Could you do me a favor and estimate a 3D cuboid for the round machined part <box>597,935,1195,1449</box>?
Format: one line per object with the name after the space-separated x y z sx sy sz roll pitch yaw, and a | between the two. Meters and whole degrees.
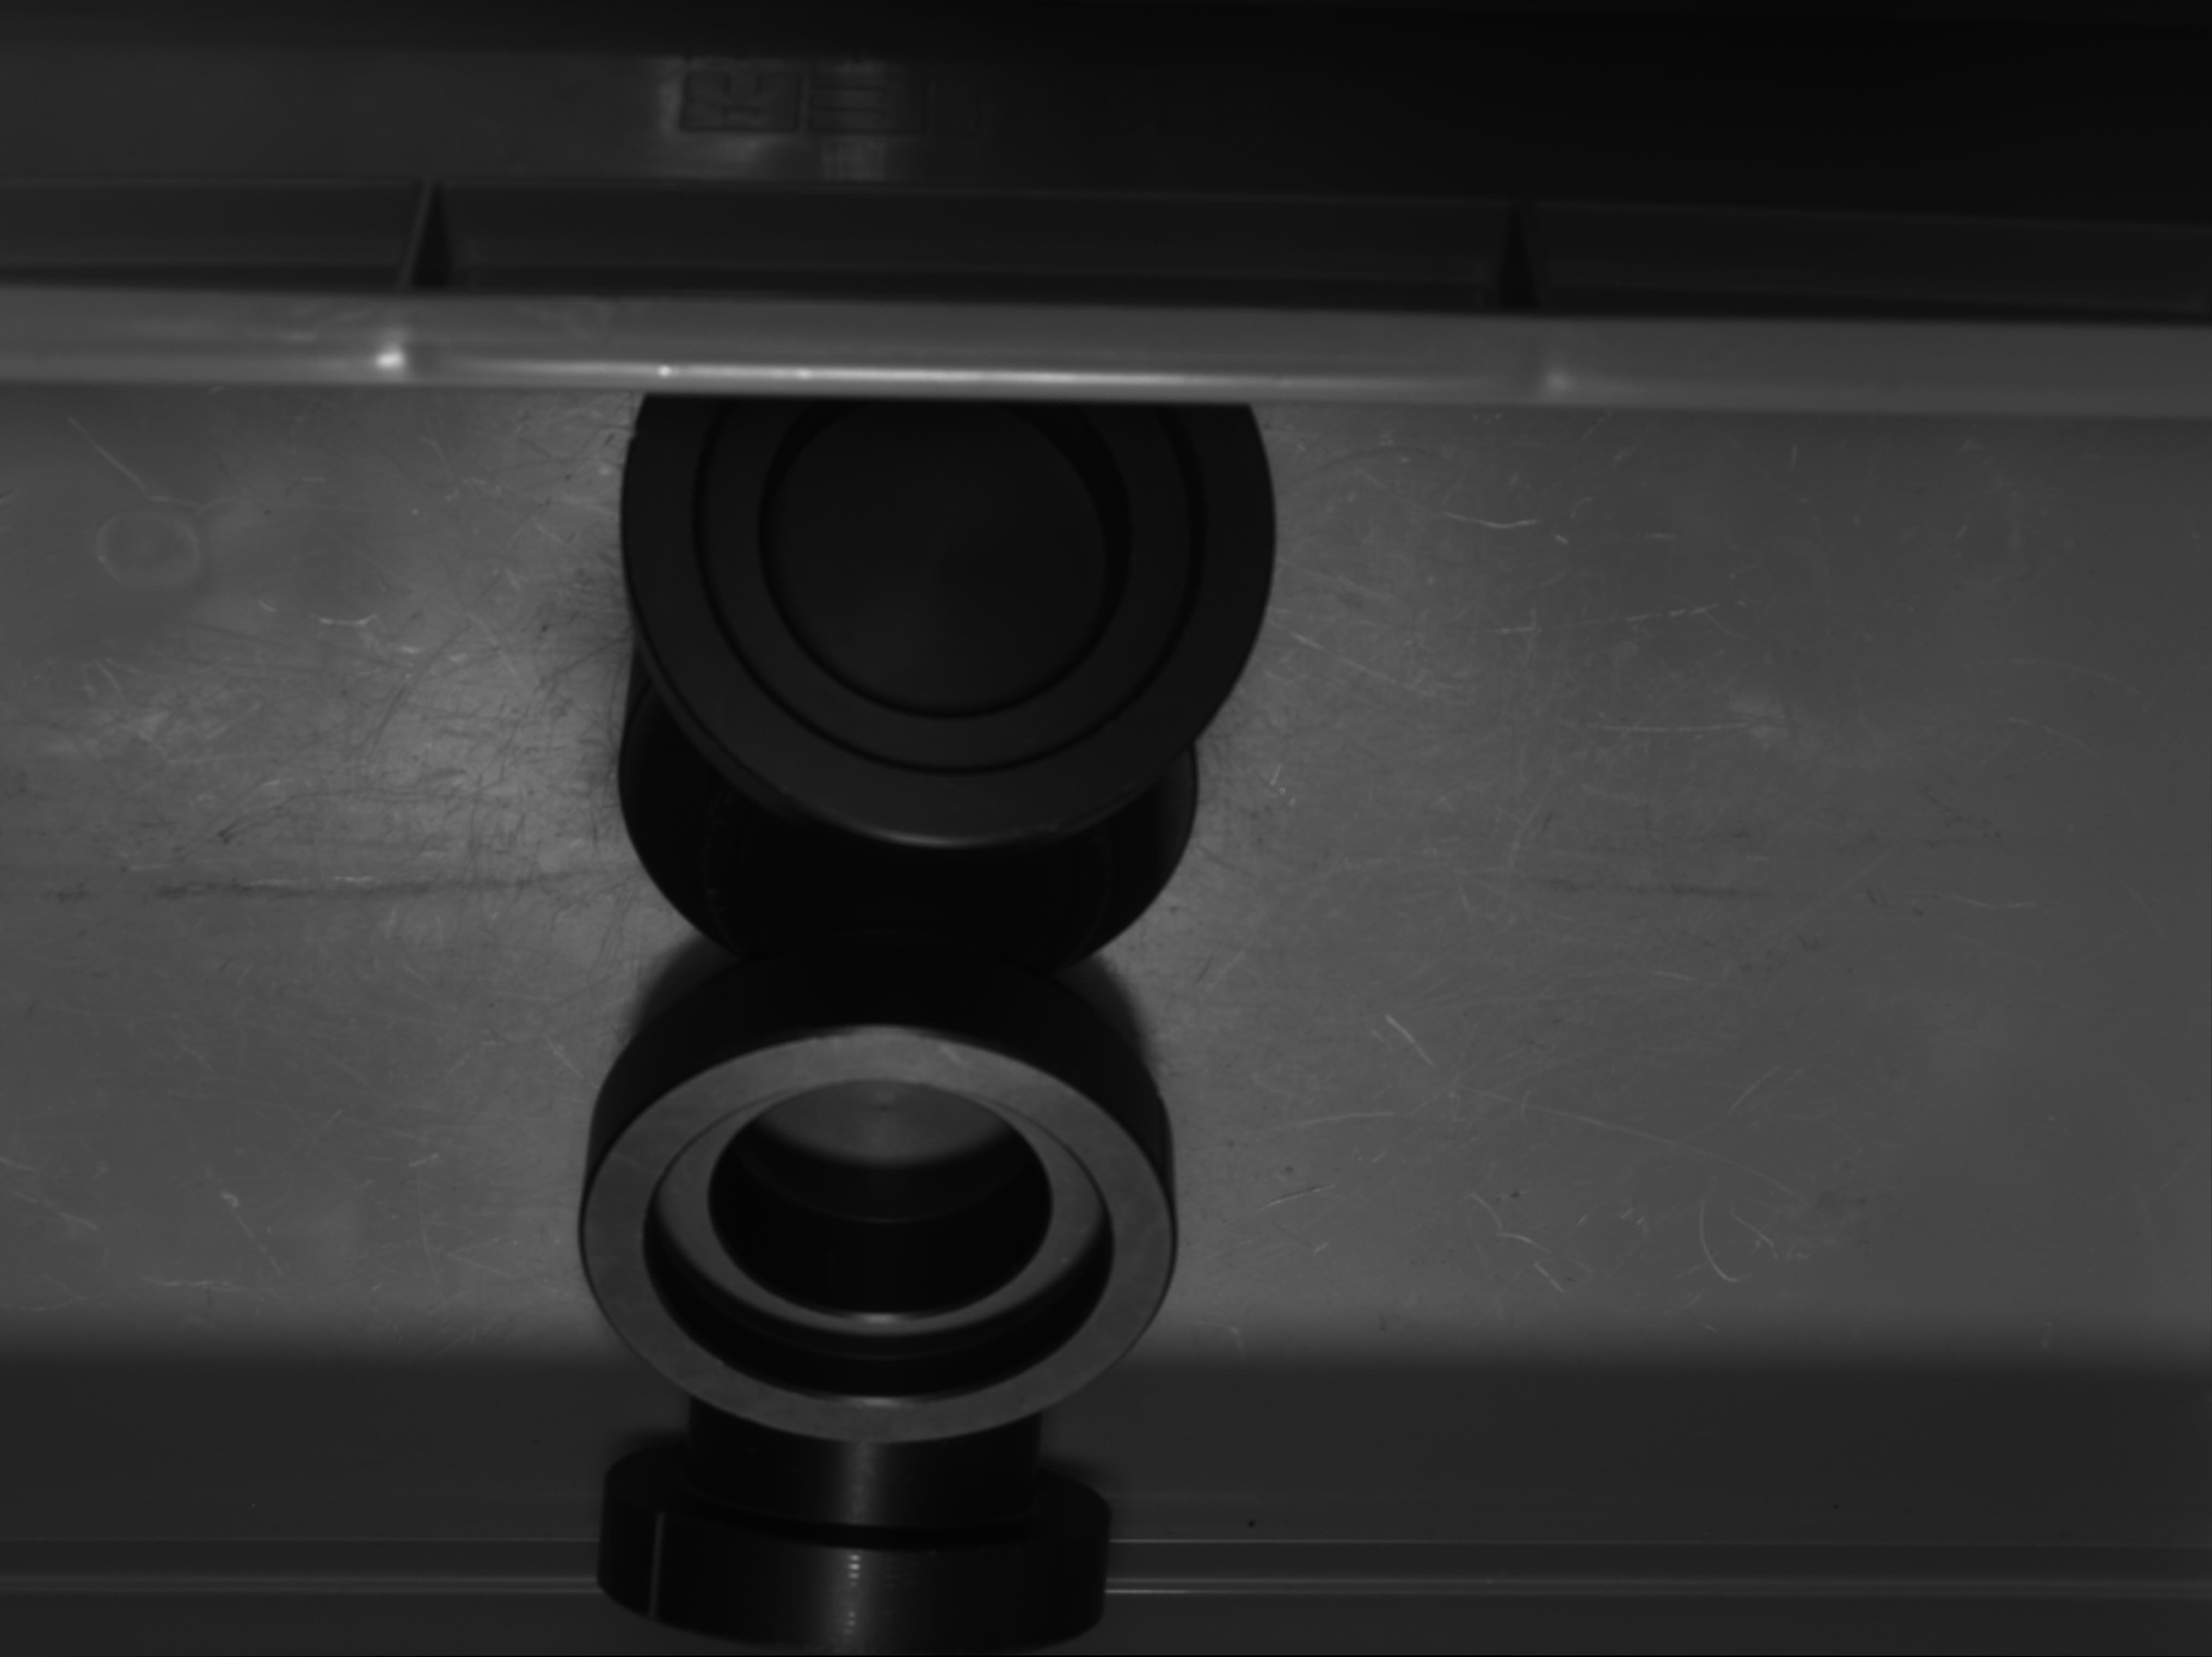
-0.035 0.057 0.616 0.098 0.042 0.098 -1 130 -1 | round machined part

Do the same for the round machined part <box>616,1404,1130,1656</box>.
-0.044 0.128 0.708 0.098 0.098 0.042 5 92 -6 | round machined part

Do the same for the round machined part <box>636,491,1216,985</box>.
-0.030 -0.006 0.620 0.098 0.042 0.098 -1 130 -1 | round machined part

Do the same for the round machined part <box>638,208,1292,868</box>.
-0.023 -0.042 0.565 0.098 0.098 0.042 5 172 -6 | round machined part

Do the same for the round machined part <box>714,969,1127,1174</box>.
-0.038 0.070 0.682 0.098 0.042 0.098 -1 130 -1 | round machined part
